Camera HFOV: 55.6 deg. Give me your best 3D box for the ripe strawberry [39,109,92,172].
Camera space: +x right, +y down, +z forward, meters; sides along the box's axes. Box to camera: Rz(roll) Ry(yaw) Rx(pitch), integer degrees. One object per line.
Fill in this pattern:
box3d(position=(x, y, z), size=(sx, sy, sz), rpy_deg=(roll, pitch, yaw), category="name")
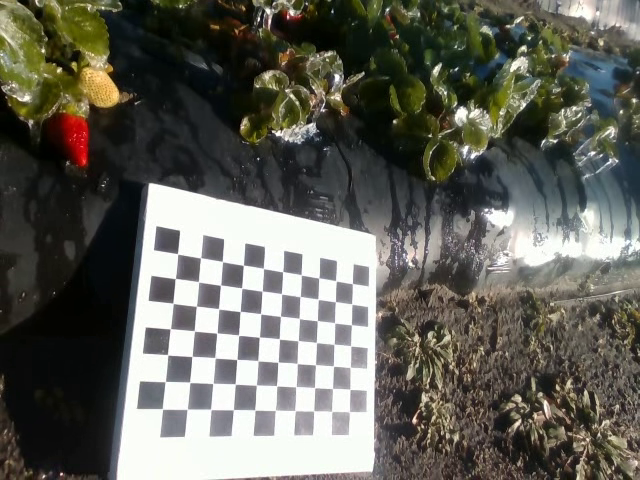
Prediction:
box3d(position=(-0.217, -0.091, 0.540), size=(0.041, 0.052, 0.040), rpy_deg=(-9, -13, -39), category="ripe strawberry")
